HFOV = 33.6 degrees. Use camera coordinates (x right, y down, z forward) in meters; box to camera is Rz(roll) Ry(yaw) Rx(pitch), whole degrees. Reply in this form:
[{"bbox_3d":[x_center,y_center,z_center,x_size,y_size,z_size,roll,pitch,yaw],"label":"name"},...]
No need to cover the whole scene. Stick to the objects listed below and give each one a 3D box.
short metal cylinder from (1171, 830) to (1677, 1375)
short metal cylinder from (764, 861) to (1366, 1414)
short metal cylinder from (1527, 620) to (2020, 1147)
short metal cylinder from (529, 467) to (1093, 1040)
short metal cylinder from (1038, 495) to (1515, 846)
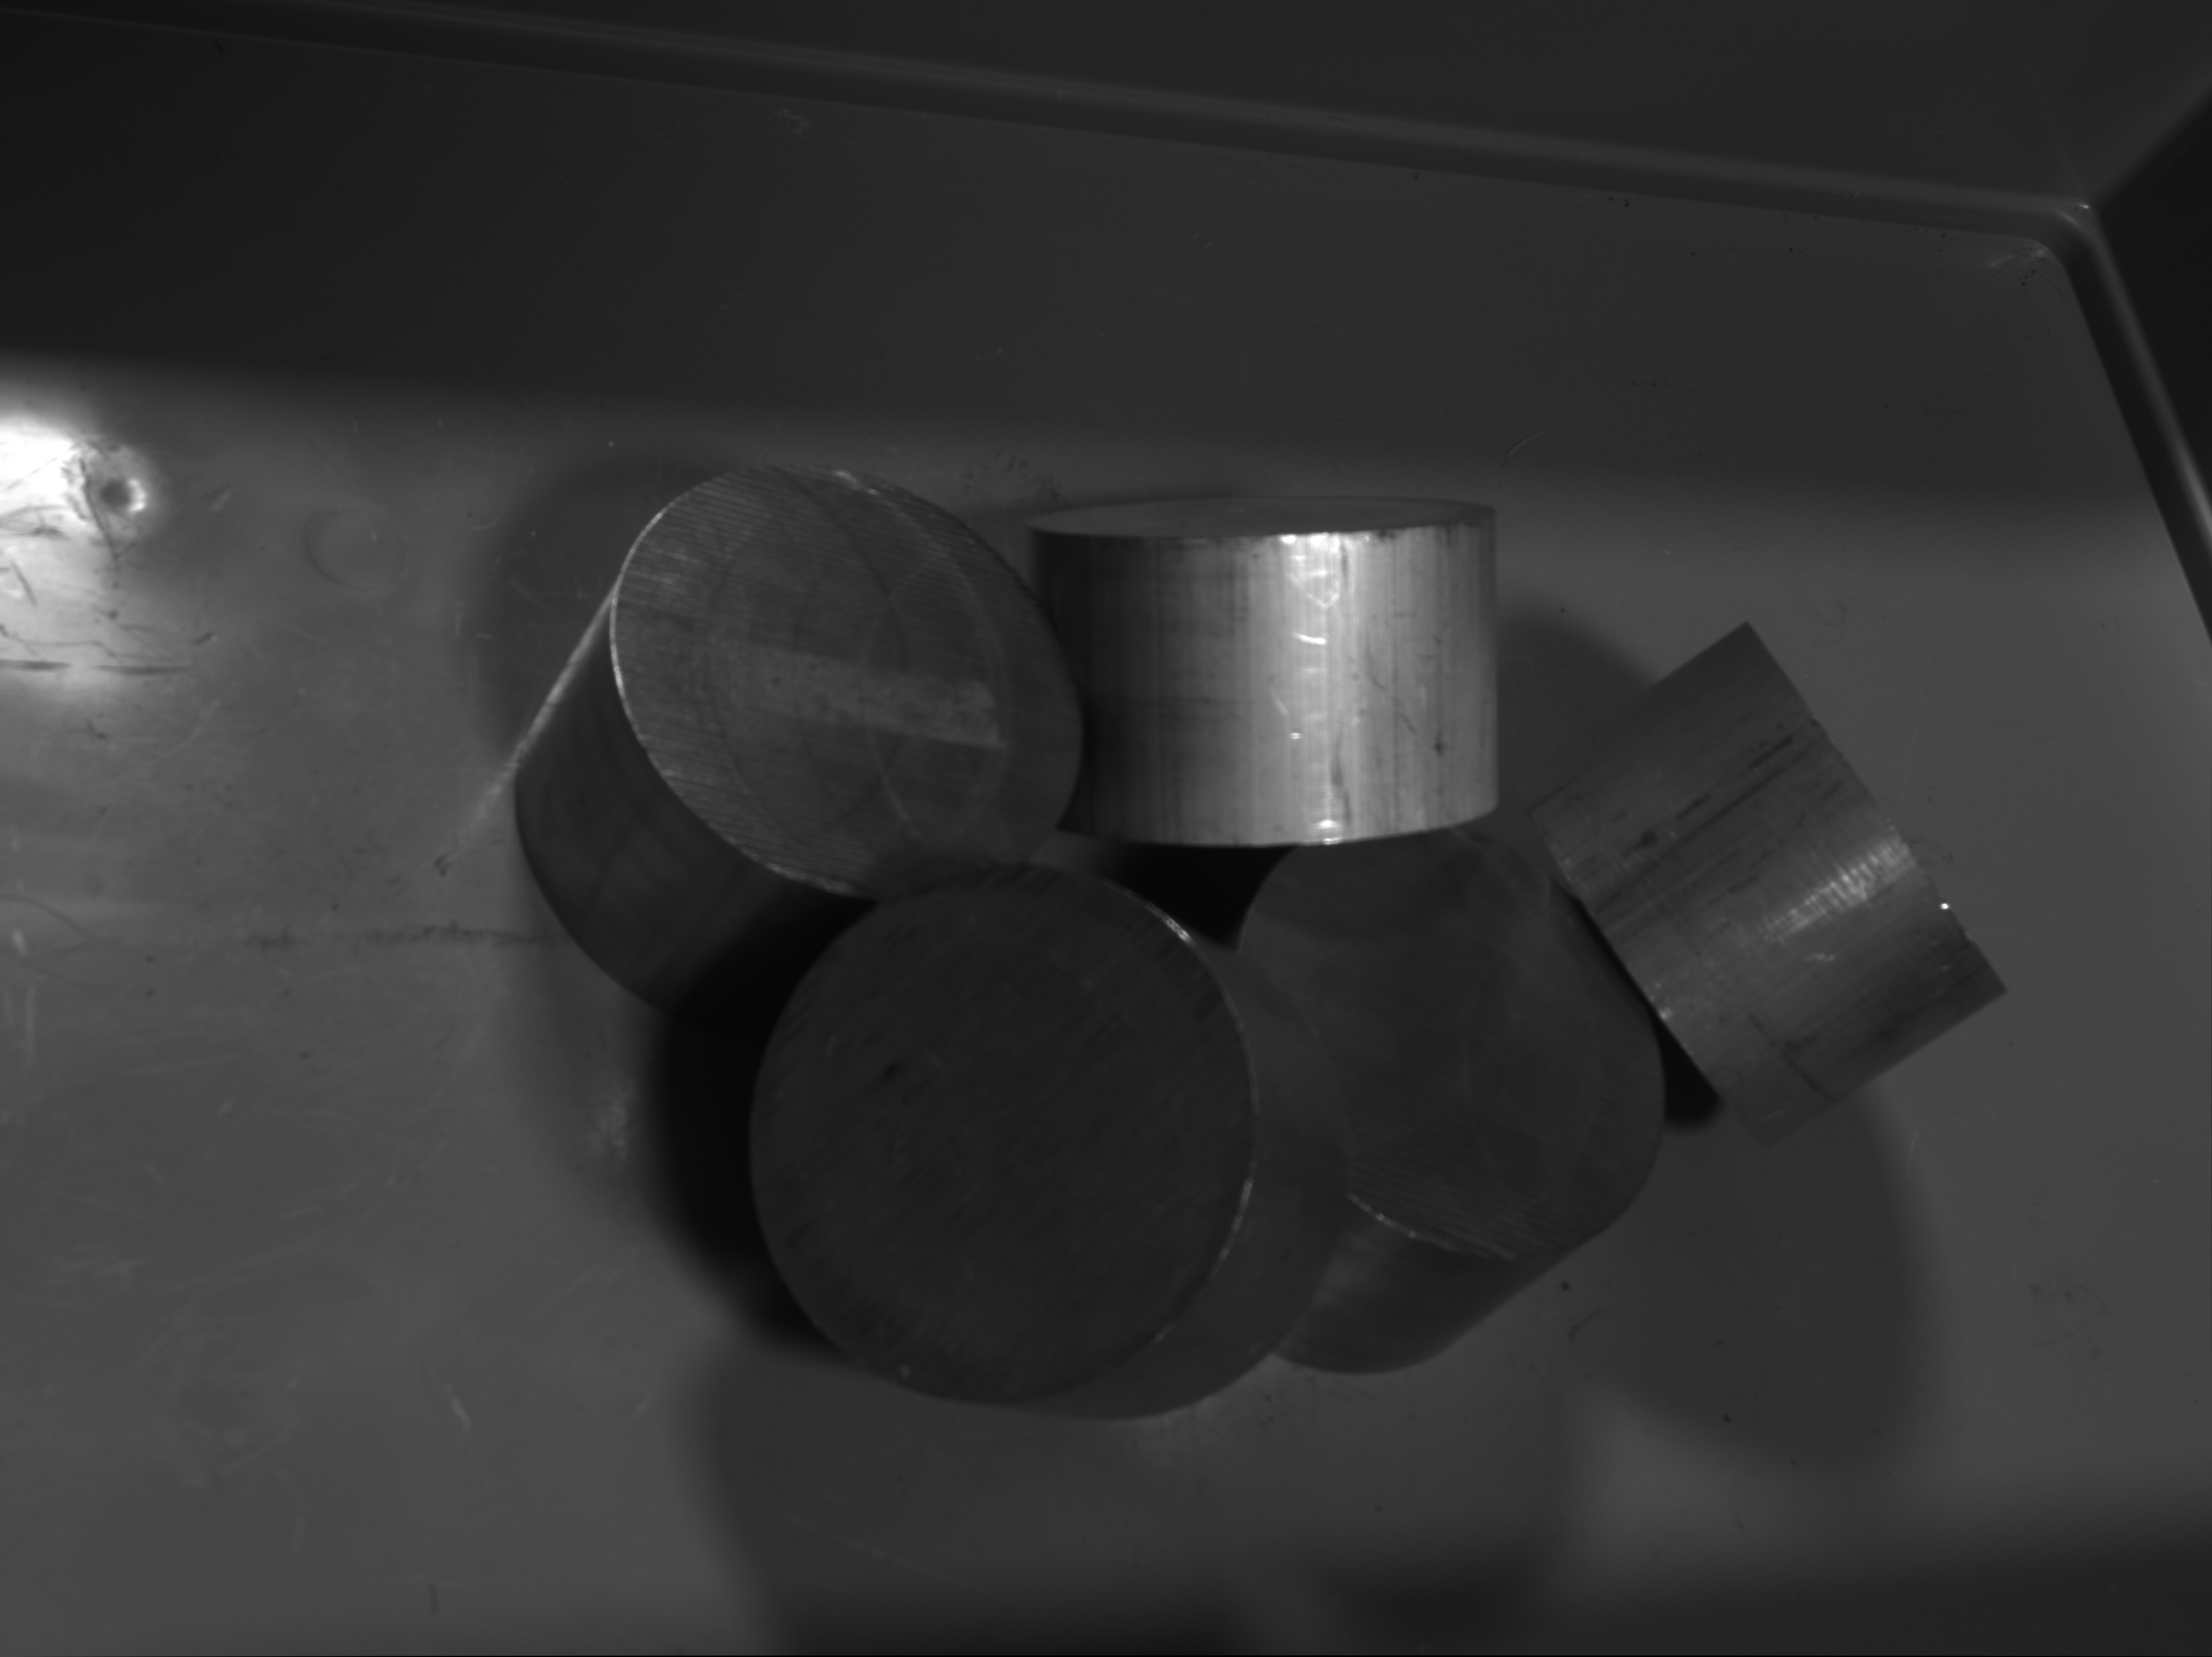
[{"bbox_3d":[0.049,0.046,0.621,0.080,0.050,0.080,14,56,-21],"label":"short metal cylinder"},{"bbox_3d":[-0.005,0.049,0.562,0.080,0.080,0.050,66,13,19],"label":"short metal cylinder"},{"bbox_3d":[0.119,0.010,0.654,0.080,0.050,0.080,52,11,-14],"label":"short metal cylinder"},{"bbox_3d":[-0.049,-0.012,0.602,0.080,0.050,0.080,14,56,-21],"label":"short metal cylinder"},{"bbox_3d":[0.029,-0.029,0.627,0.080,0.080,0.050,-8,101,-32],"label":"short metal cylinder"}]
